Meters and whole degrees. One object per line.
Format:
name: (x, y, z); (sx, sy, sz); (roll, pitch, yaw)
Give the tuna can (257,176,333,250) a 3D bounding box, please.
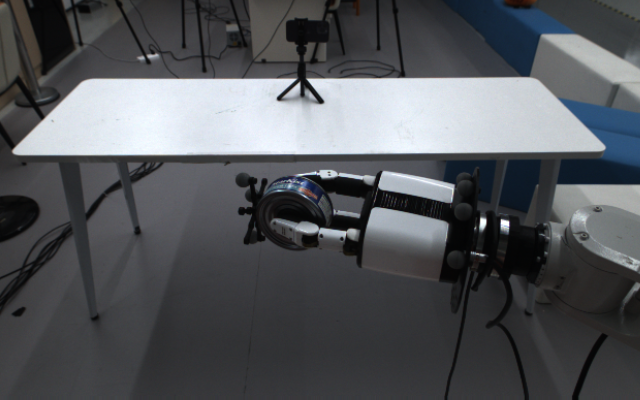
tuna can: (-0.026, 0.018, 0.558); (0.085, 0.085, 0.034); (9, 33, 10)
